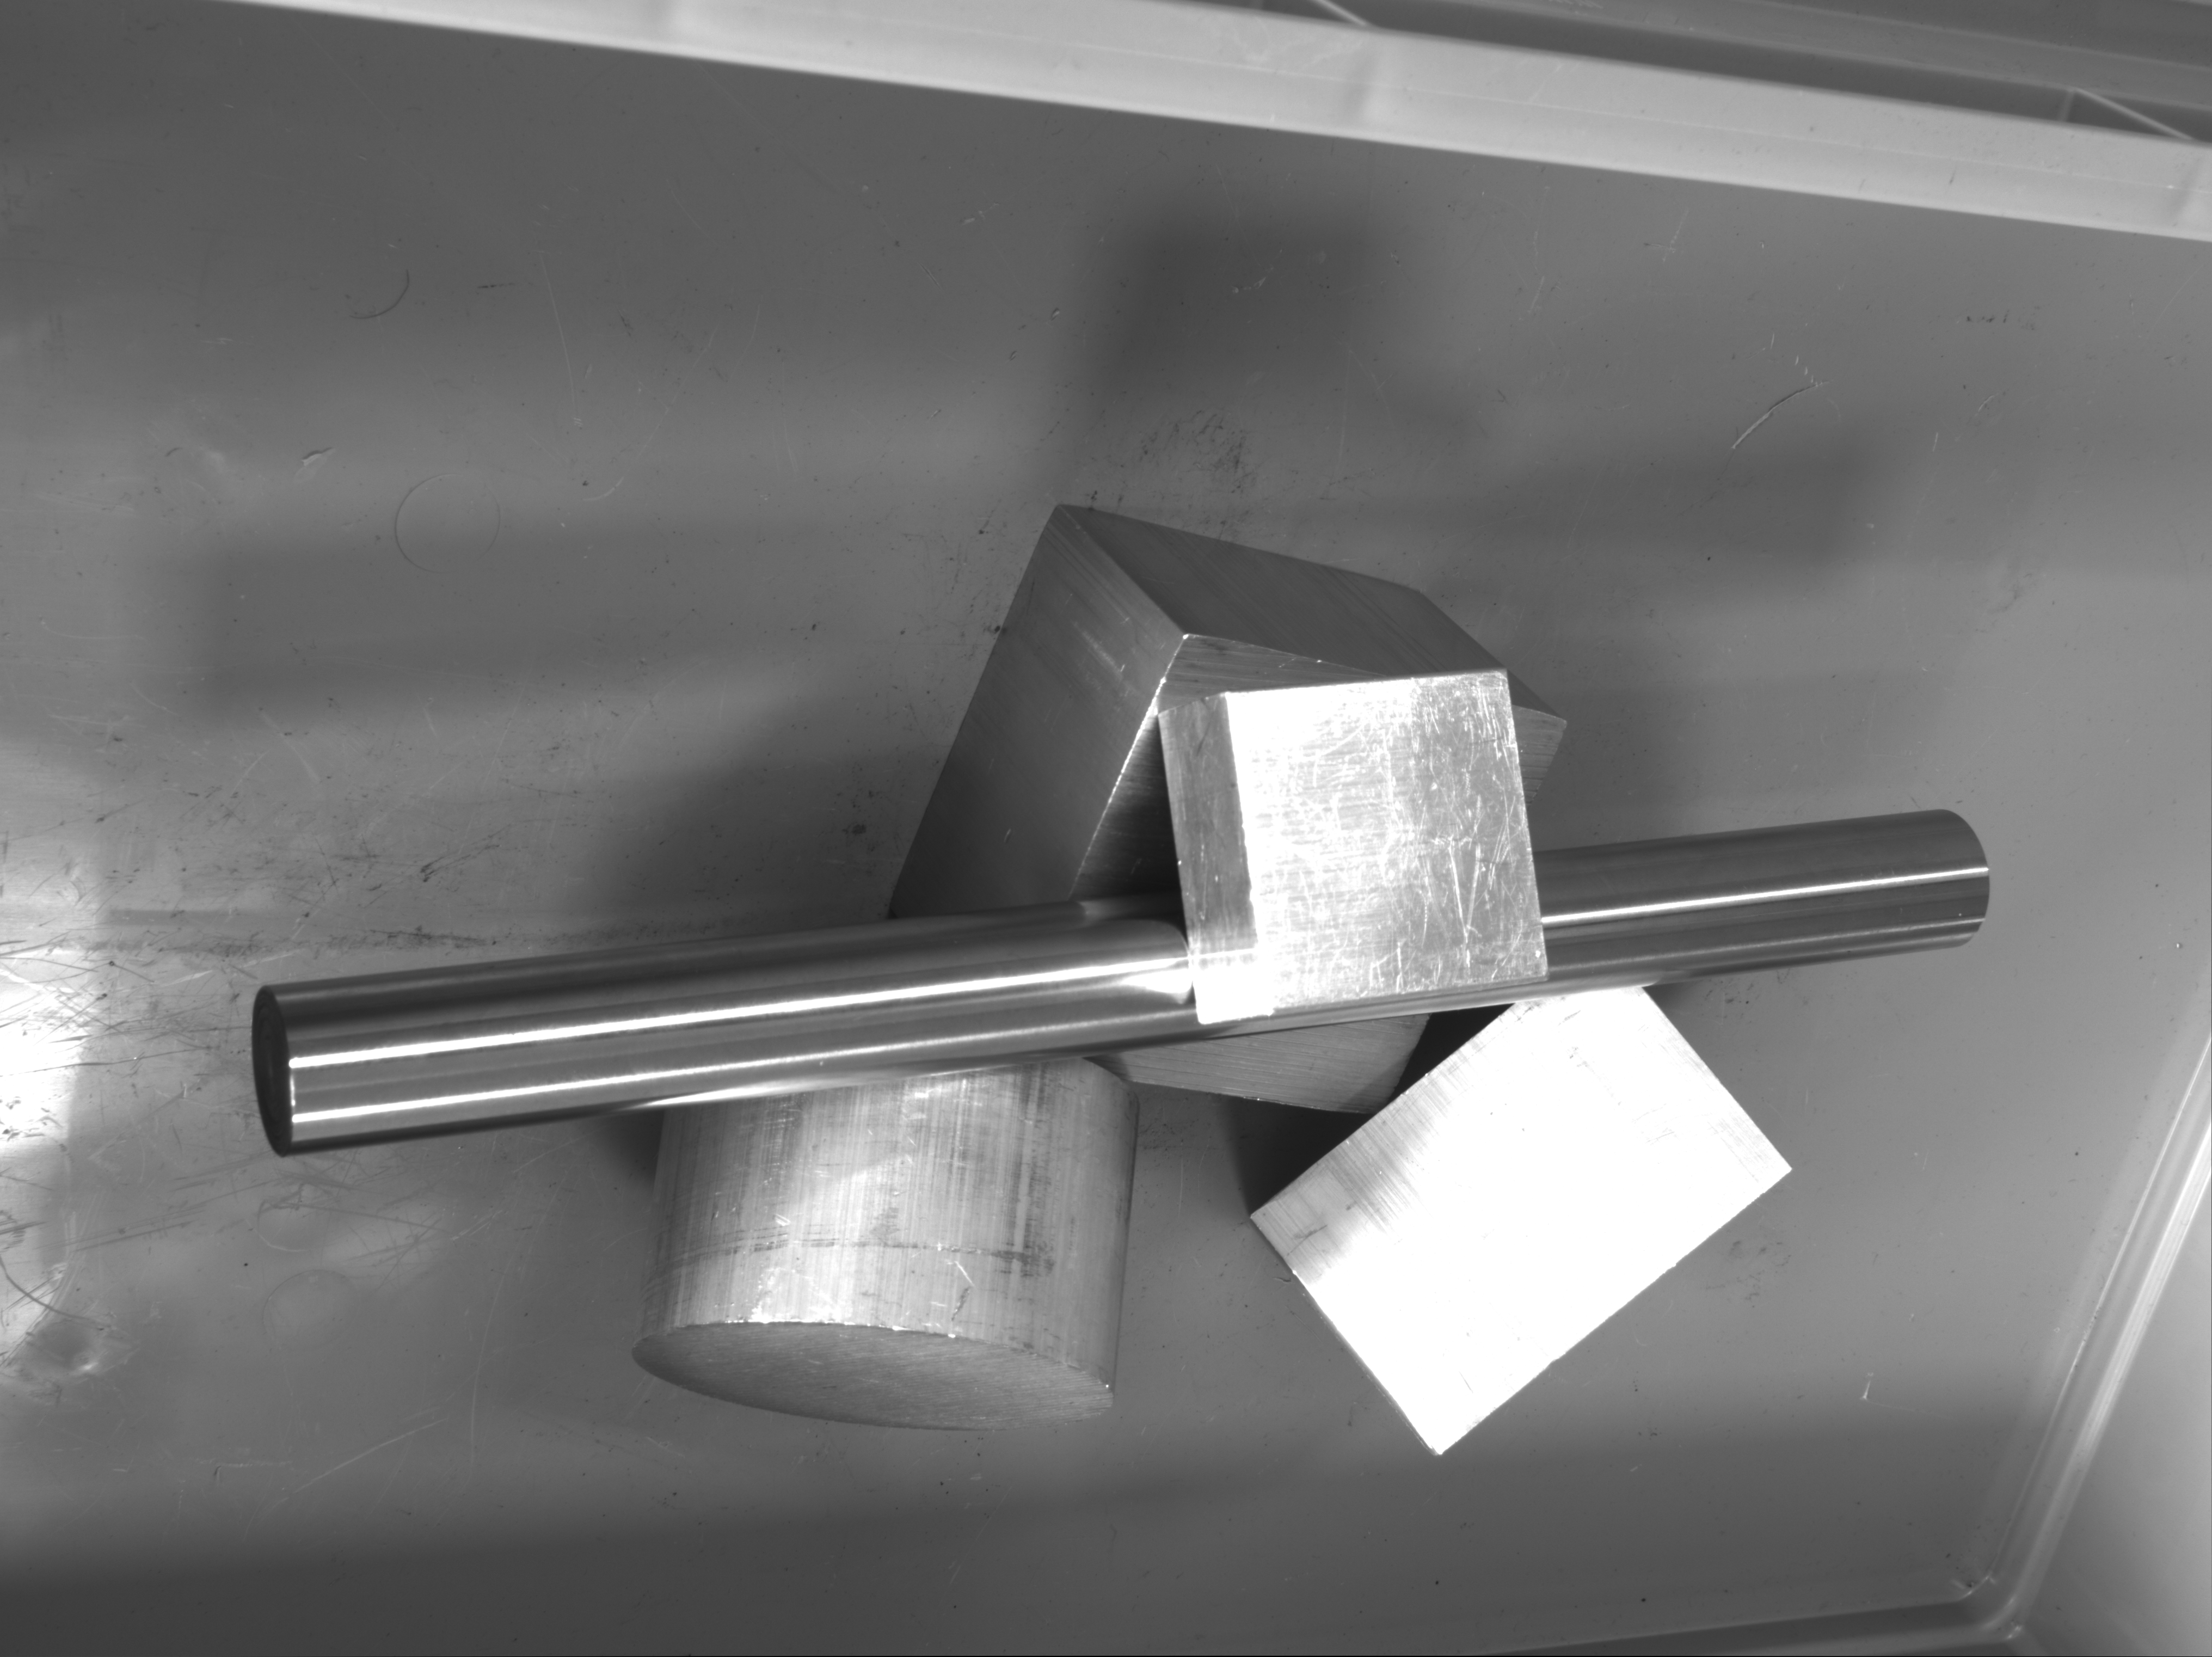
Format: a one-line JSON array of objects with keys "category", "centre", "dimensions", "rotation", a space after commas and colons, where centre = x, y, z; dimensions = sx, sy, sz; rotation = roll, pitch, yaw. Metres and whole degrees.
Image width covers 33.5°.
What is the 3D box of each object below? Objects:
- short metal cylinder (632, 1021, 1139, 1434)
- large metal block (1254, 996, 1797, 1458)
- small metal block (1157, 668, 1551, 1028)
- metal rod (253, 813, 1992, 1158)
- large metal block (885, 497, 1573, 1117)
[{"category": "short metal cylinder", "centre": [-0.036, 0.068, 0.615], "dimensions": [0.080, 0.080, 0.050], "rotation": [21, 64, -36]}, {"category": "large metal block", "centre": [0.074, 0.069, 0.674], "dimensions": [0.080, 0.050, 0.080], "rotation": [-39, 173, -2]}, {"category": "small metal block", "centre": [0.039, 0.003, 0.579], "dimensions": [0.050, 0.025, 0.050], "rotation": [-6, 86, -25]}, {"category": "metal rod", "centre": [0.015, 0.022, 0.594], "dimensions": [0.301, 0.025, 0.025], "rotation": [-5, 121, -25]}, {"category": "large metal block", "centre": [0.020, -0.002, 0.629], "dimensions": [0.080, 0.050, 0.080], "rotation": [11, 112, -33]}]
